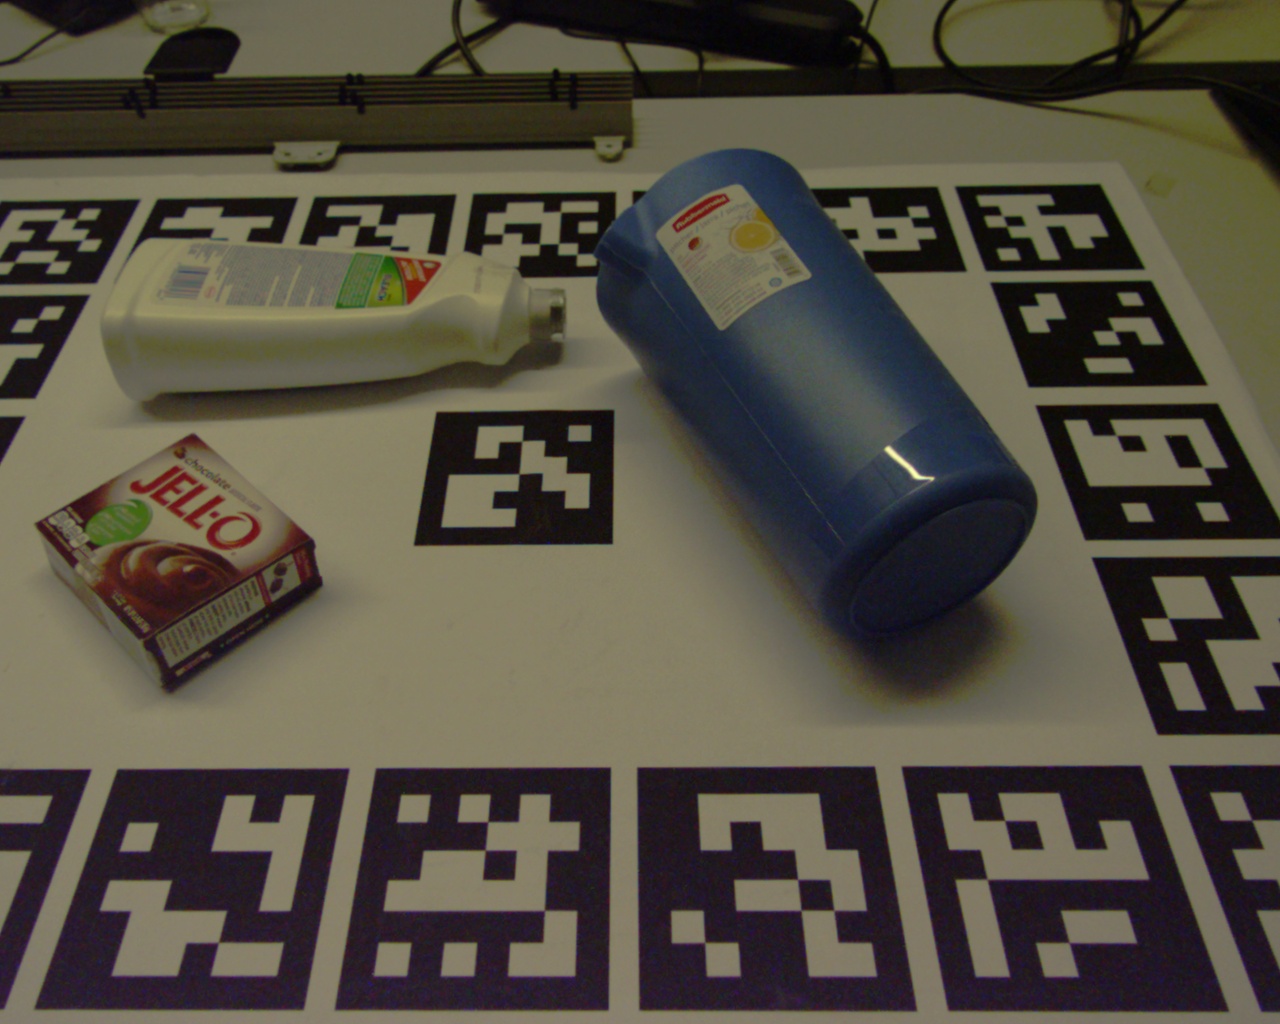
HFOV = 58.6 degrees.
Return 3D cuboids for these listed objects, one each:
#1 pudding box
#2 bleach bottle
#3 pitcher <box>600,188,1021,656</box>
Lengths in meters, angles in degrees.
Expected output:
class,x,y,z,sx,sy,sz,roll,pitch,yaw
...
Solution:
class,x,y,z,sx,sy,sz,roll,pitch,yaw
pudding box,-0.226,0.021,0.583,0.115,0.038,0.089,37,53,27
bleach bottle,-0.169,-0.114,0.694,0.250,0.067,0.103,-2,52,-3
pitcher,0.093,-0.047,0.608,0.186,0.134,0.245,6,43,-42
